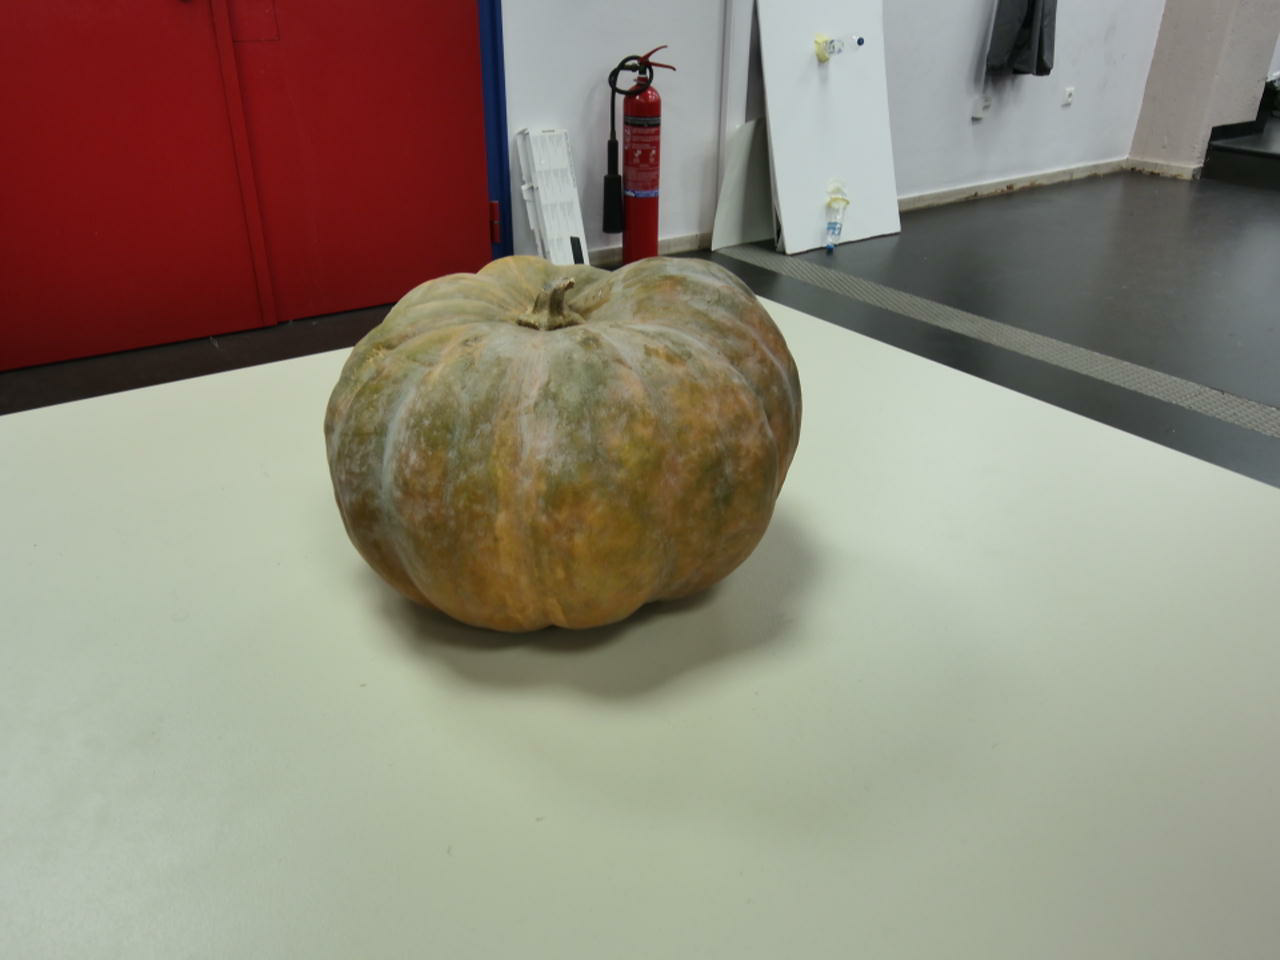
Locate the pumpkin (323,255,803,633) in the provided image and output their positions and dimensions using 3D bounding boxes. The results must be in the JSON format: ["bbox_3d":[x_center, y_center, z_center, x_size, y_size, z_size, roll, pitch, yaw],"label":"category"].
[{"bbox_3d":[-0.041,-0.026,0.528,0.252,0.169,0.251,0,26,0],"label":"pumpkin"}]
